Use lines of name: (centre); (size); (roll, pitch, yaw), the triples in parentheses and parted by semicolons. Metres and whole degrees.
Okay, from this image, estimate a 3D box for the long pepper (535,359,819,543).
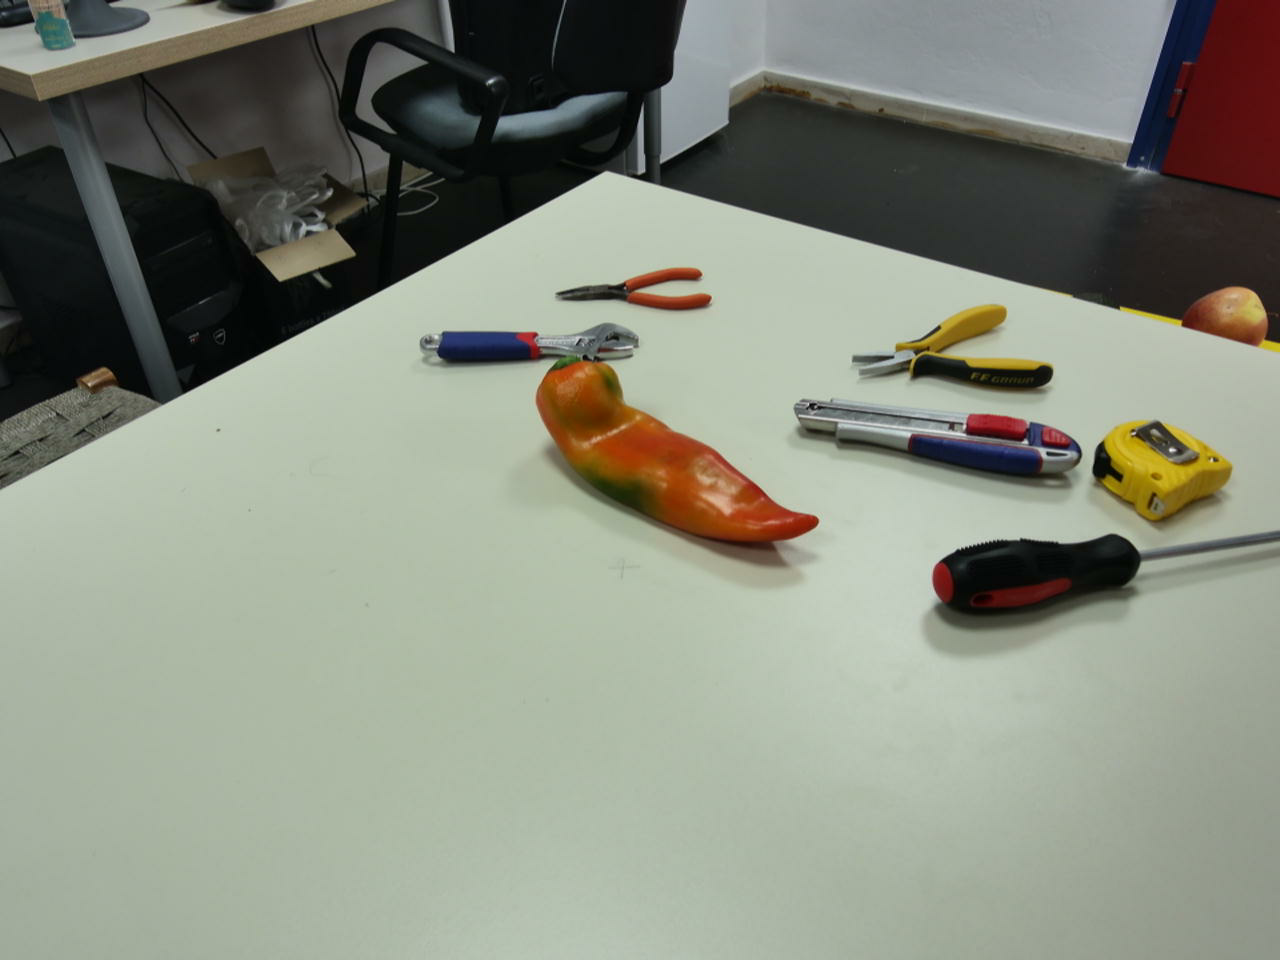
long pepper: (0.016, -0.017, 0.592); (0.199, 0.065, 0.066); (28, 46, 33)
